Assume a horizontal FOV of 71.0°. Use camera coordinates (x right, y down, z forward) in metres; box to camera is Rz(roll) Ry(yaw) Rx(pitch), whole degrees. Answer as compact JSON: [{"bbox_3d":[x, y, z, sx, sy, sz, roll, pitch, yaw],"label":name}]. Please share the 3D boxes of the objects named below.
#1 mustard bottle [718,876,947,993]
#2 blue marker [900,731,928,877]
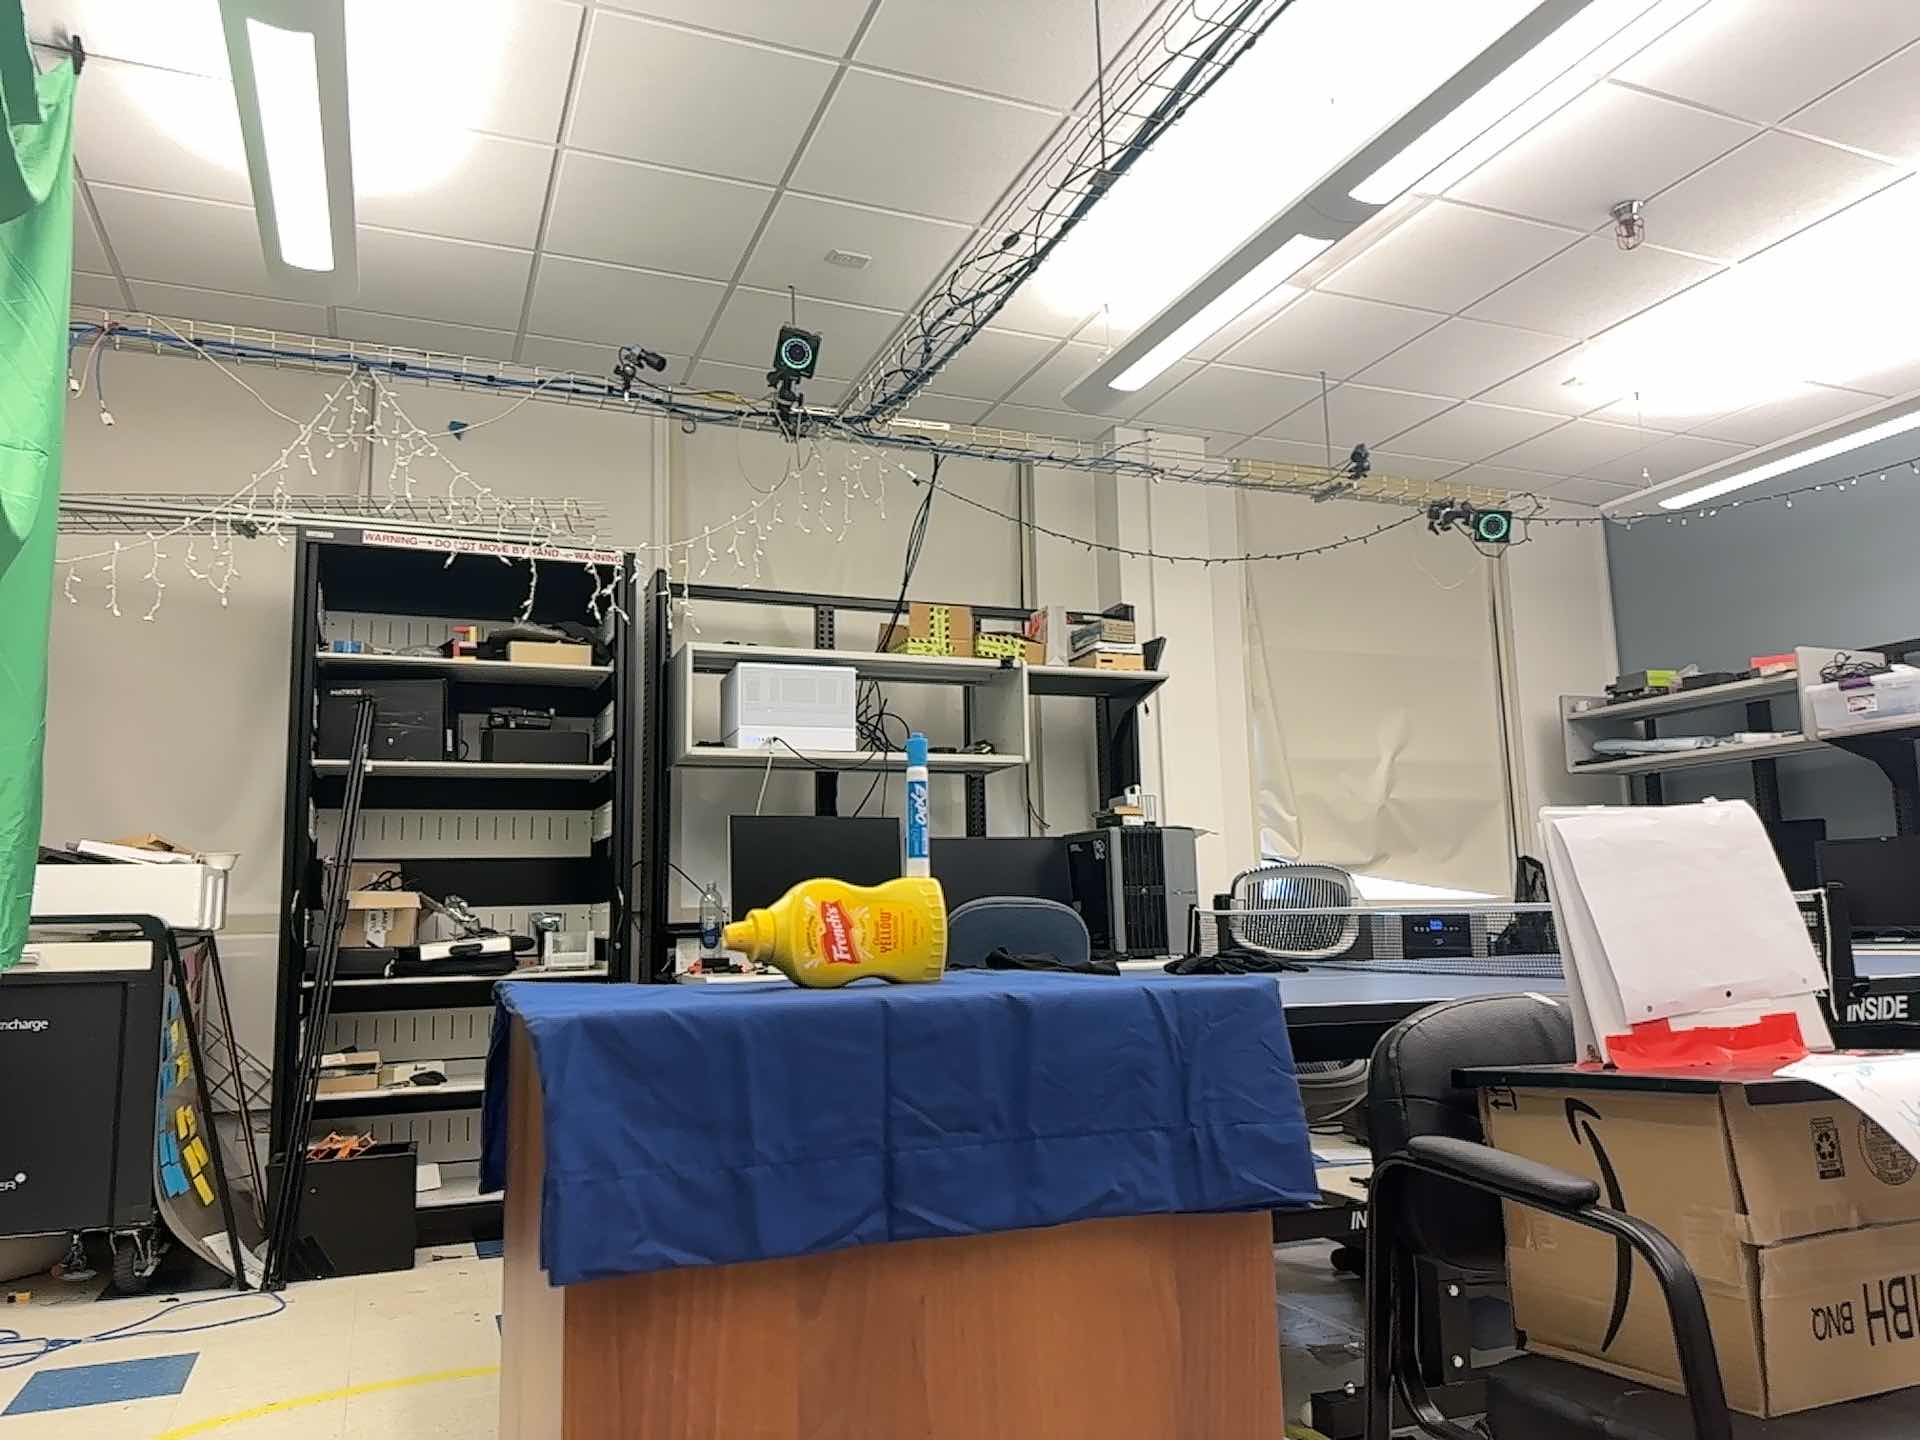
[{"bbox_3d":[-0.103,0.171,1.071,0.184,0.092,0.054,3,-2,-28],"label":"mustard bottle"},{"bbox_3d":[-0.039,0.069,1.120,0.020,0.121,0.020,-2,-9,0],"label":"blue marker"}]
